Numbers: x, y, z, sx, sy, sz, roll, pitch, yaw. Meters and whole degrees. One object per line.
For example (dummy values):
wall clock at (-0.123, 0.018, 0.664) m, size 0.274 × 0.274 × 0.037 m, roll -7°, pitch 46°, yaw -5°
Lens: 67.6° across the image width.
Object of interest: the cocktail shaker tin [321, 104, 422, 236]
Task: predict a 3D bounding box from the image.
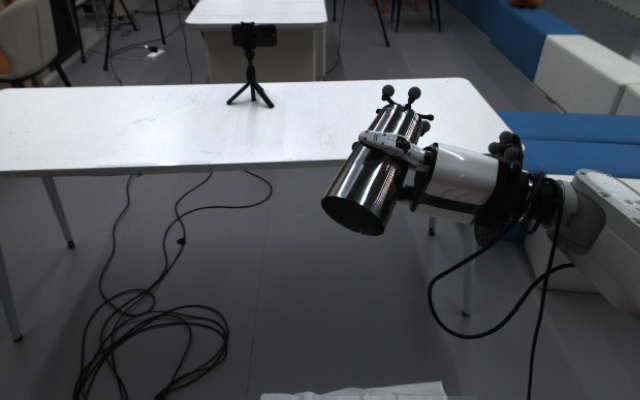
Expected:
cocktail shaker tin at (0.082, -0.051, 0.659) m, size 0.093 × 0.093 × 0.170 m, roll 18°, pitch 66°, yaw 21°
